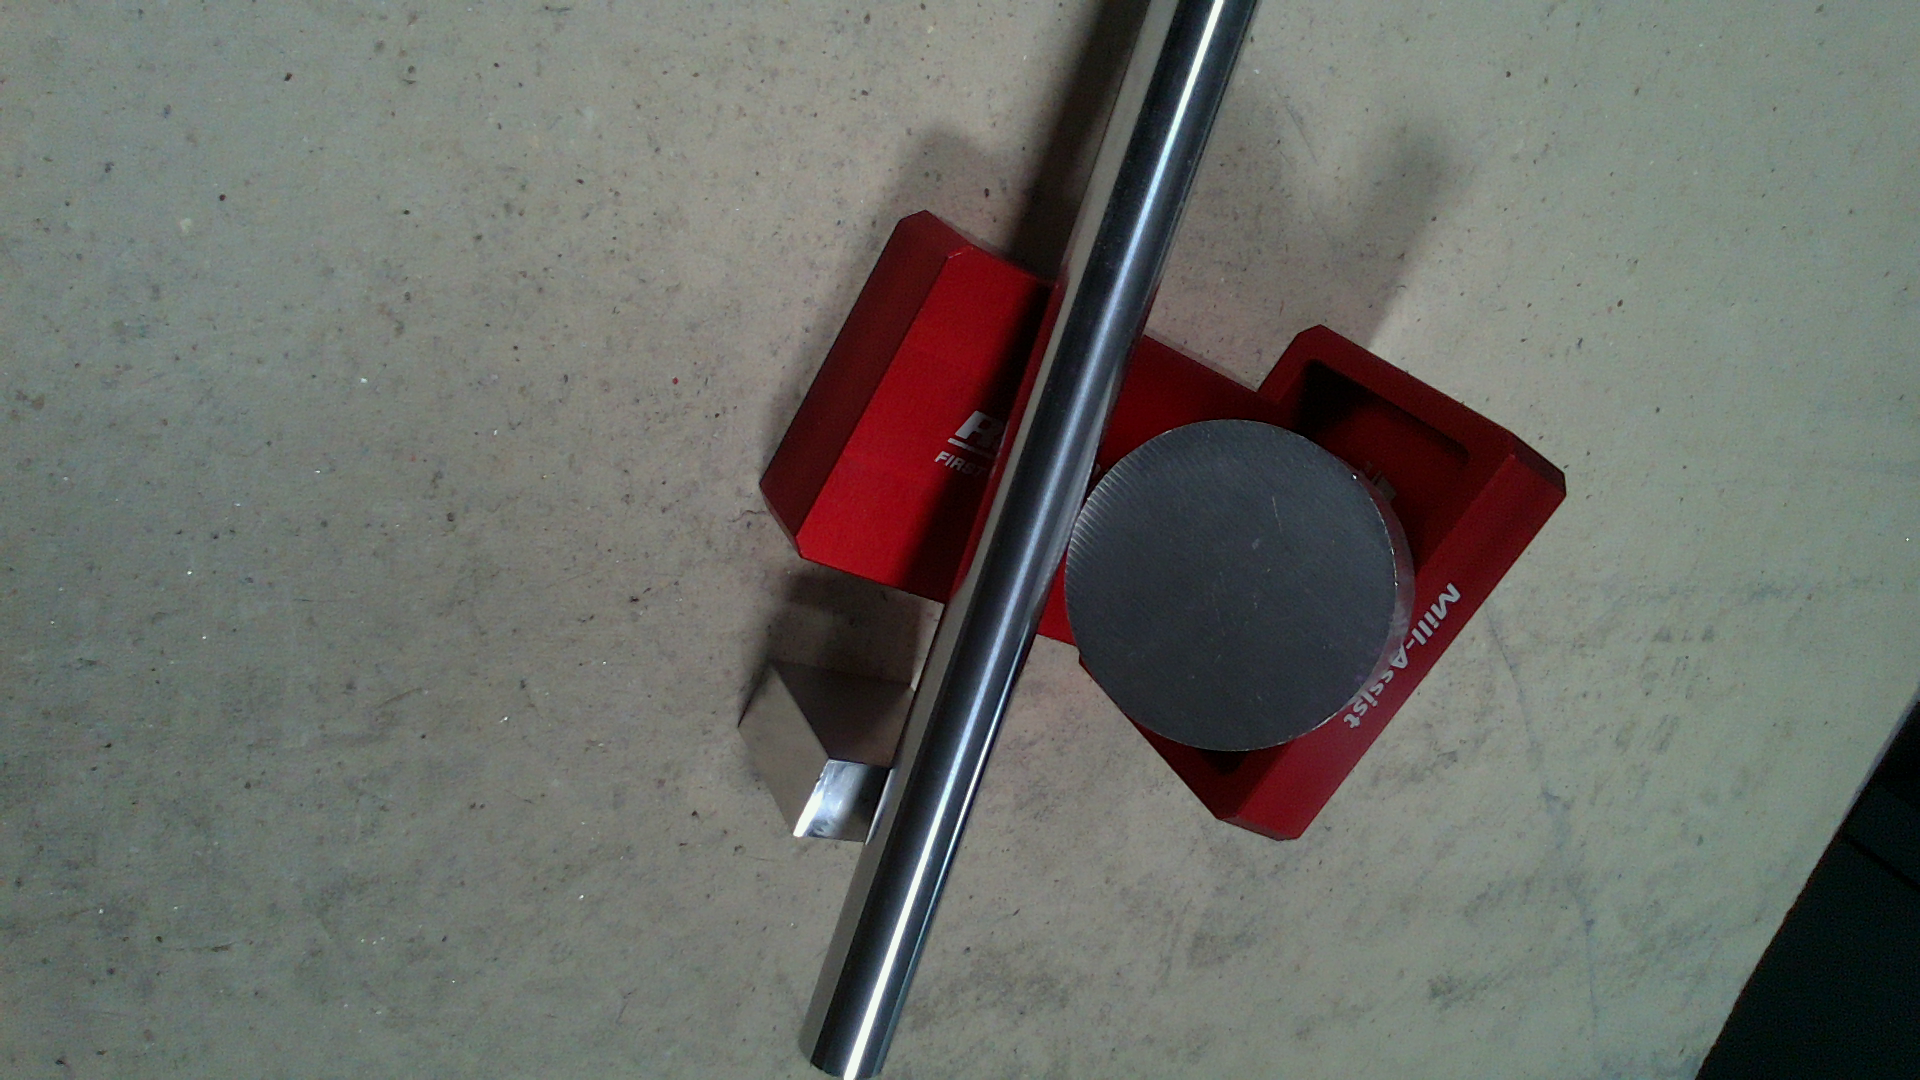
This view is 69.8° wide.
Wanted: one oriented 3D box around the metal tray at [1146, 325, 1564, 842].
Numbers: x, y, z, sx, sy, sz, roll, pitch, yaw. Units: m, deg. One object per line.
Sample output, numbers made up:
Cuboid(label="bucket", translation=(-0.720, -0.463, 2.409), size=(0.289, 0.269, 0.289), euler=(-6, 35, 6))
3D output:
Cuboid(label="metal tray", translation=(0.101, 0.011, 0.409), size=(0.030, 0.090, 0.130), euler=(25, 105, -37))

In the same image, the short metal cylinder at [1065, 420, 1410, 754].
Cuboid(label="short metal cylinder", translation=(0.073, 0.012, 0.353), size=(0.080, 0.080, 0.050), euler=(-56, 161, 12))

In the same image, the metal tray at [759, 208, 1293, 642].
Cuboid(label="metal tray", translation=(0.022, -0.023, 0.383), size=(0.130, 0.030, 0.090), euler=(20, 108, -36))

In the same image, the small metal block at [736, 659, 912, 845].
Cuboid(label="small metal block", translation=(-0.030, 0.062, 0.395), size=(0.050, 0.050, 0.025), euler=(13, 112, -34))

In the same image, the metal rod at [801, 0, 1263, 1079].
Cuboid(label="metal rod", translation=(0.015, 0.001, 0.348), size=(0.025, 0.025, 0.300), euler=(11, 104, -33))
